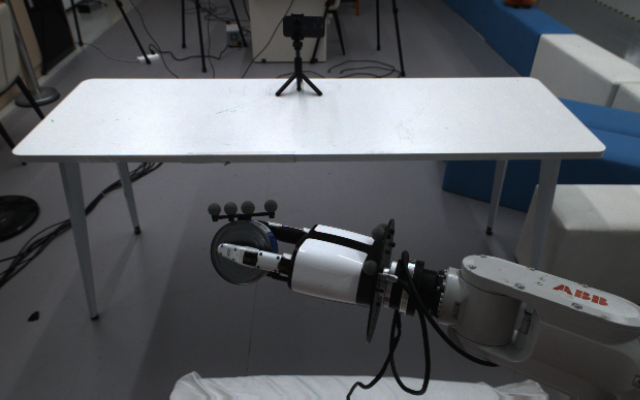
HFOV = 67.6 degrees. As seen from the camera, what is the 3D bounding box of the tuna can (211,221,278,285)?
[{"bbox_3d":[-0.098,0.073,0.644,0.085,0.085,0.034,10,3,11],"label":"tuna can"}]
